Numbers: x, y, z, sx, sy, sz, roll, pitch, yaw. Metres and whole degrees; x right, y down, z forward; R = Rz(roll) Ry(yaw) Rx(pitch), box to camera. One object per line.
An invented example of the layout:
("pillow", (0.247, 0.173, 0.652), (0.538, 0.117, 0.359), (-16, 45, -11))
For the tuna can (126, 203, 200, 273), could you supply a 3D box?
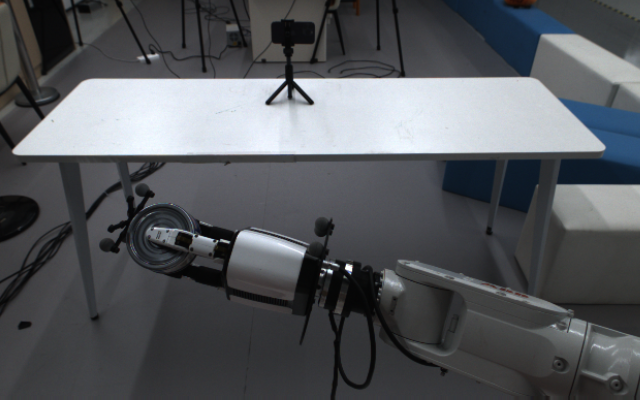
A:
("tuna can", (-0.191, 0.047, 0.601), (0.085, 0.034, 0.085), (0, 75, -1))
